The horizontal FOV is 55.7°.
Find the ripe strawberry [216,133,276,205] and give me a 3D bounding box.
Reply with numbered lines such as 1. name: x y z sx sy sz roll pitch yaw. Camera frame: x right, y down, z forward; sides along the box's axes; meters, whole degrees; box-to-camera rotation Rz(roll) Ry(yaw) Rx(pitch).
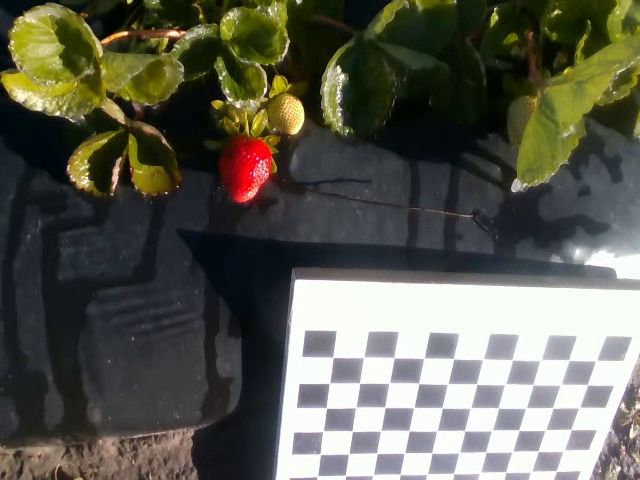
1. ripe strawberry: -0.039 -0.033 0.319 0.039 0.039 0.040 -2 -39 5
